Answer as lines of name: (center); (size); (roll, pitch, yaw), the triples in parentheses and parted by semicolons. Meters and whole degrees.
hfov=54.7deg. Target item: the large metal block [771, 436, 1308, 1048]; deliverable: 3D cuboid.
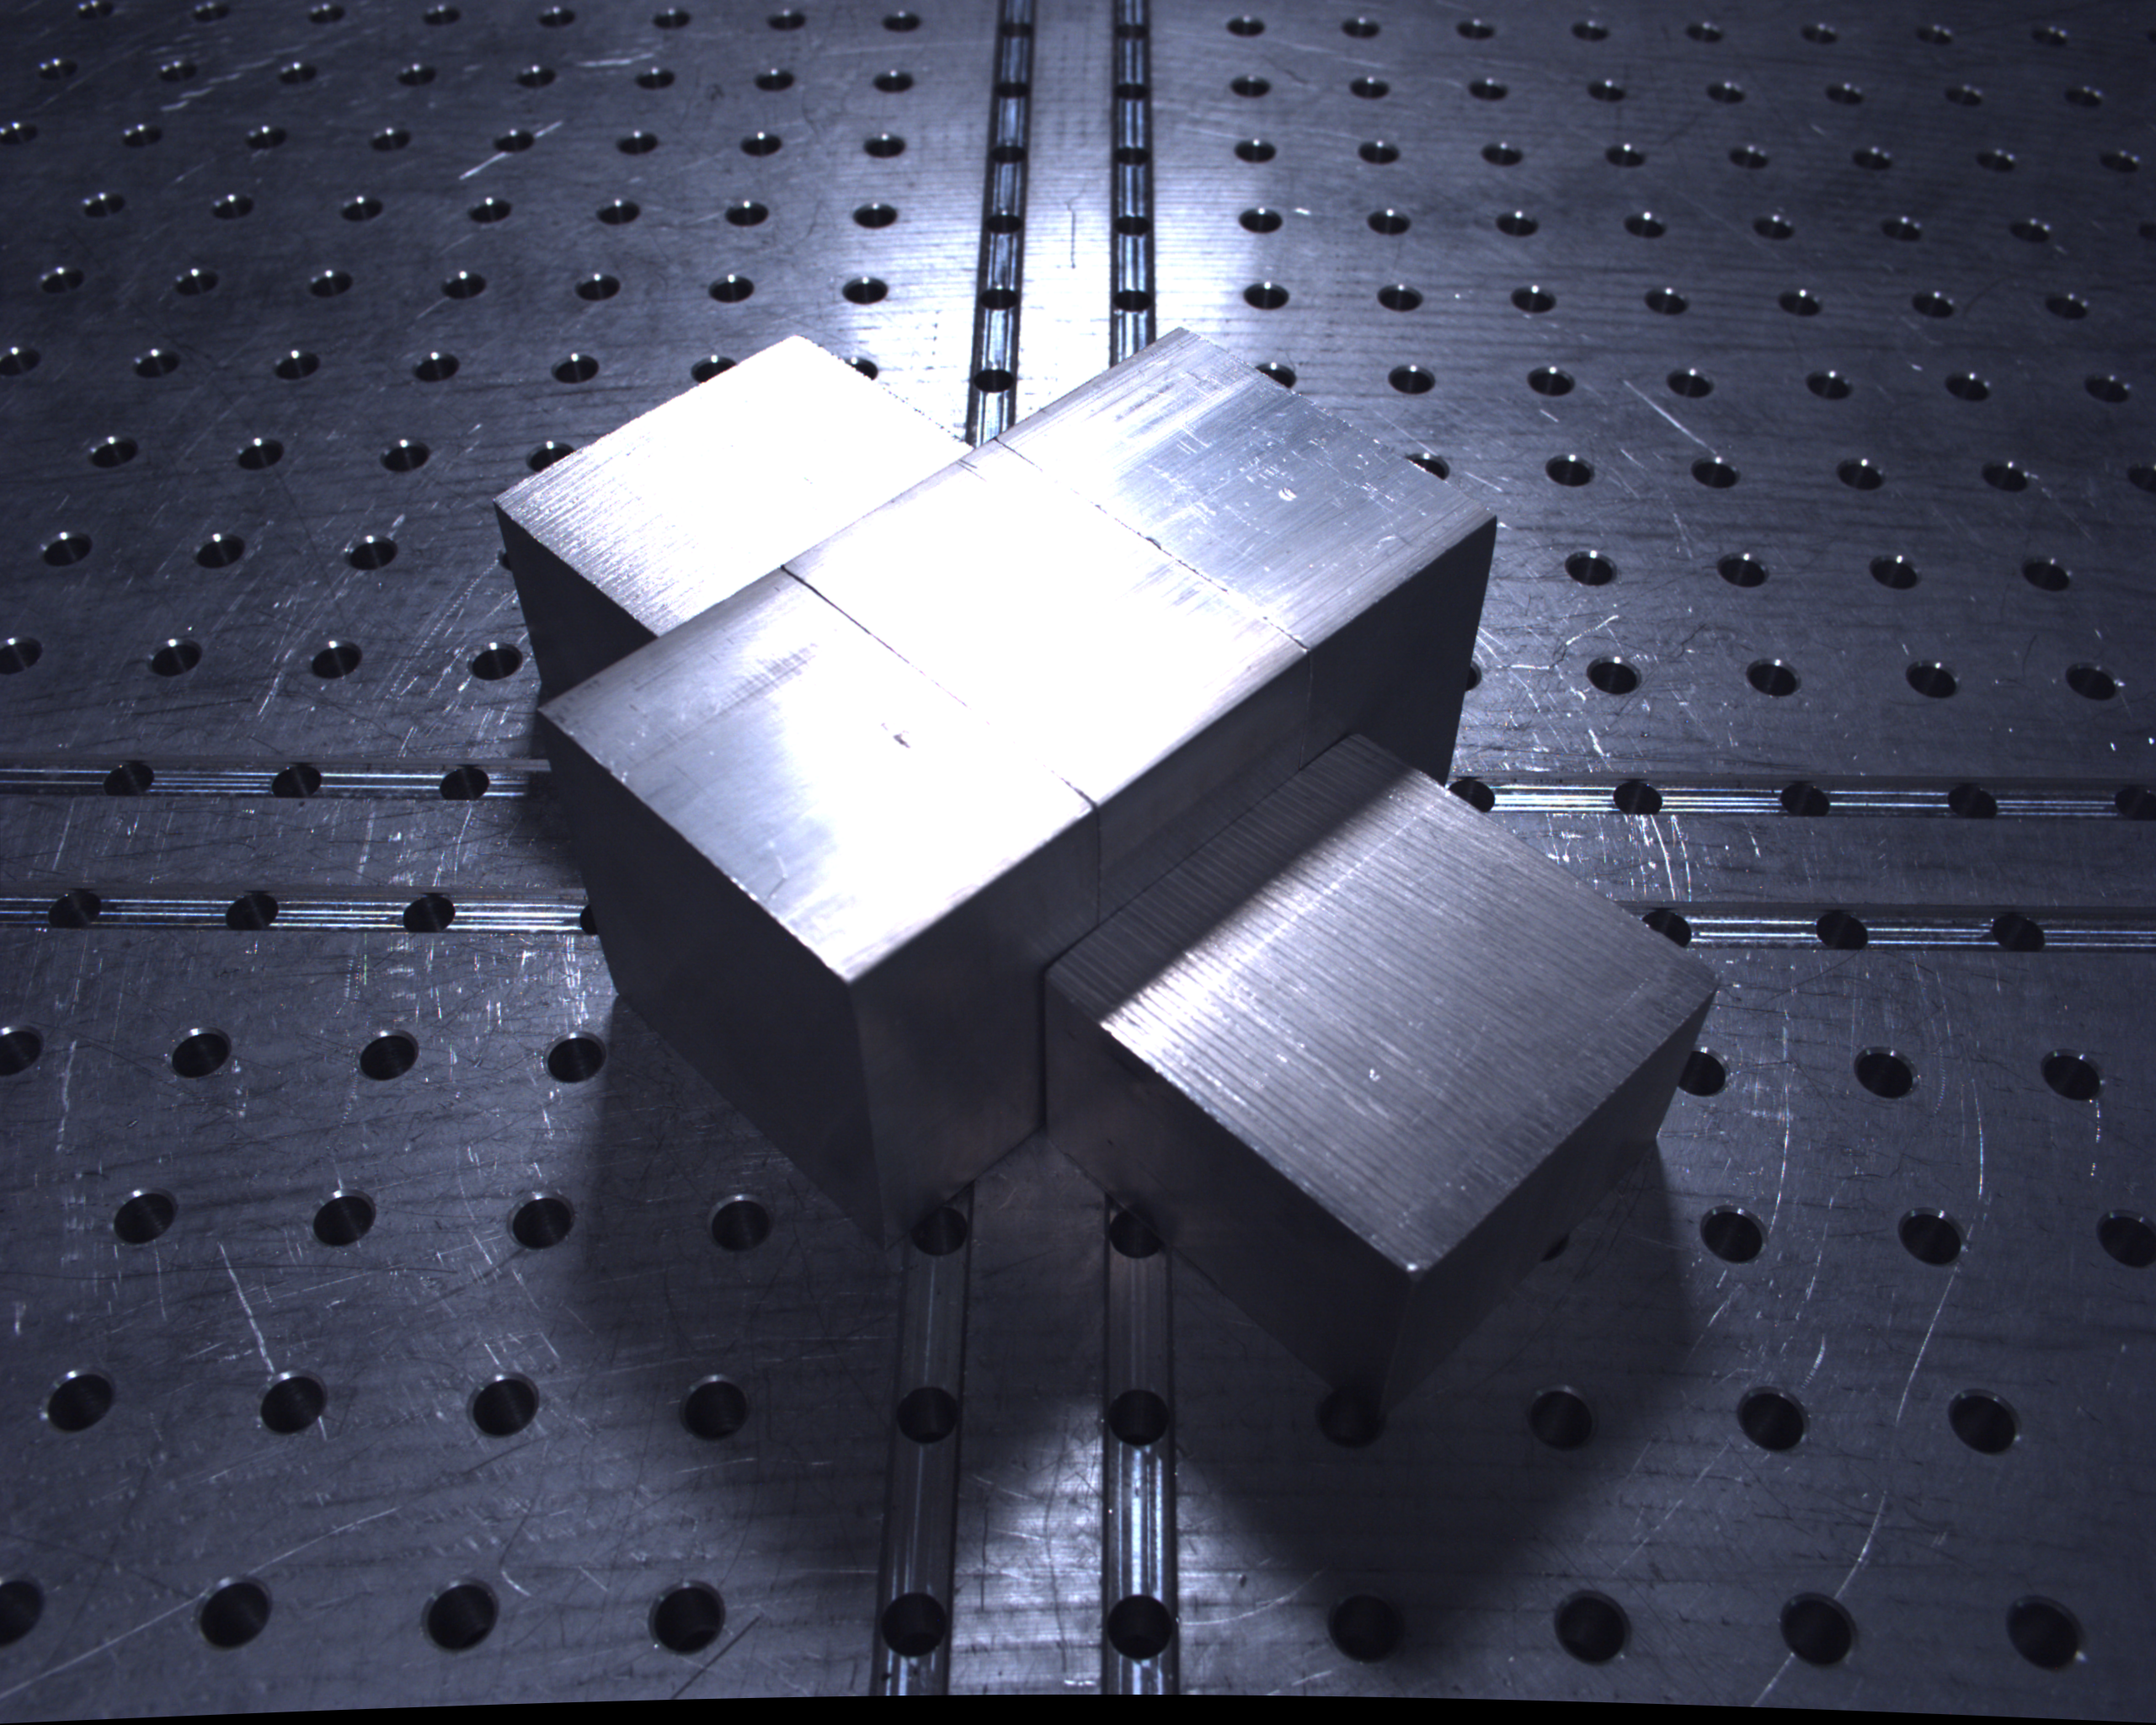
large metal block: (-0.008, -0.019, 0.388); (0.050, 0.080, 0.080); (-37, 60, -27)

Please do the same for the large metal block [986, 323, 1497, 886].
large metal block: (0.029, -0.045, 0.411); (0.050, 0.080, 0.080); (-37, 60, -27)

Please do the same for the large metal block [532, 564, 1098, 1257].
large metal block: (-0.043, 0.009, 0.365); (0.050, 0.080, 0.080); (-37, 60, -27)

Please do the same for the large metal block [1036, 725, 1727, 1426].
large metal block: (0.050, 0.034, 0.363); (0.080, 0.050, 0.080); (-37, 60, -26)

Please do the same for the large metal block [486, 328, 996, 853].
large metal block: (-0.061, -0.056, 0.435); (0.080, 0.050, 0.080); (37, 60, 26)
